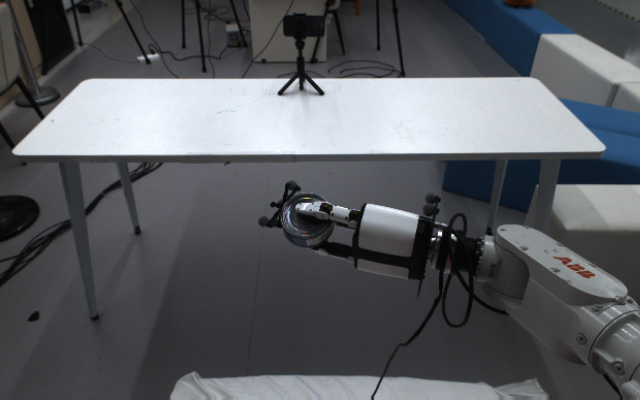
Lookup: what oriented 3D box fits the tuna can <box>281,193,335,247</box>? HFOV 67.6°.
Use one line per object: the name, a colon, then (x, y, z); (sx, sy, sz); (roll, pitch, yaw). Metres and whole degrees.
tuna can: (-0.017, 0.035, 0.776); (0.085, 0.034, 0.085); (-1, 62, 1)
